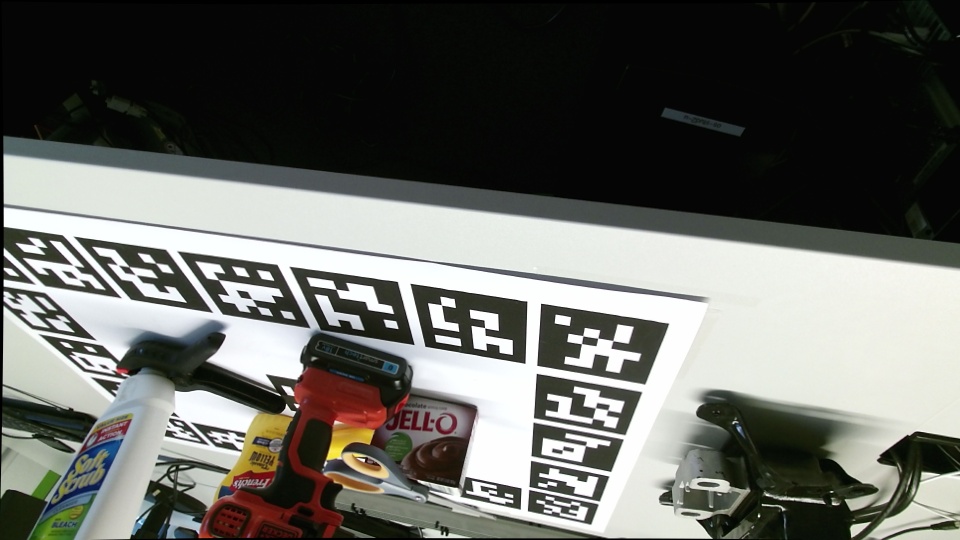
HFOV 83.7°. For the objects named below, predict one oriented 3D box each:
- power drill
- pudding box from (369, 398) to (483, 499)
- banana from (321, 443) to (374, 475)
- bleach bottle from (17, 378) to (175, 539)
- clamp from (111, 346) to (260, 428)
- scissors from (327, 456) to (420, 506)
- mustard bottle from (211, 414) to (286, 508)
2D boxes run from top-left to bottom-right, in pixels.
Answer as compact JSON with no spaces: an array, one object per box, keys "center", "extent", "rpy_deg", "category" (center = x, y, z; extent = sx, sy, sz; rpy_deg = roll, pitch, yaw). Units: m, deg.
[{"center":[-0.139,0.194,0.509],"extent":[0.185,0.186,0.057],"rpy_deg":[14,146,-2],"category":"power drill"},{"center":[-0.062,0.202,0.611],"extent":[0.114,0.089,0.039],"rpy_deg":[11,146,7],"category":"pudding box"},{"center":[-0.182,0.271,0.760],"extent":[0.198,0.038,0.074],"rpy_deg":[-24,142,37],"category":"banana"},{"center":[-0.425,0.222,0.610],"extent":[0.103,0.249,0.068],"rpy_deg":[-11,137,18],"category":"bleach bottle"},{"center":[-0.369,0.140,0.660],"extent":[0.203,0.036,0.165],"rpy_deg":[4,136,16],"category":"clamp"},{"center":[-0.066,0.254,0.573],"extent":[0.203,0.016,0.088],"rpy_deg":[27,135,-6],"category":"scissors"},{"center":[-0.303,0.295,0.726],"extent":[0.096,0.190,0.058],"rpy_deg":[18,140,0],"category":"mustard bottle"}]
